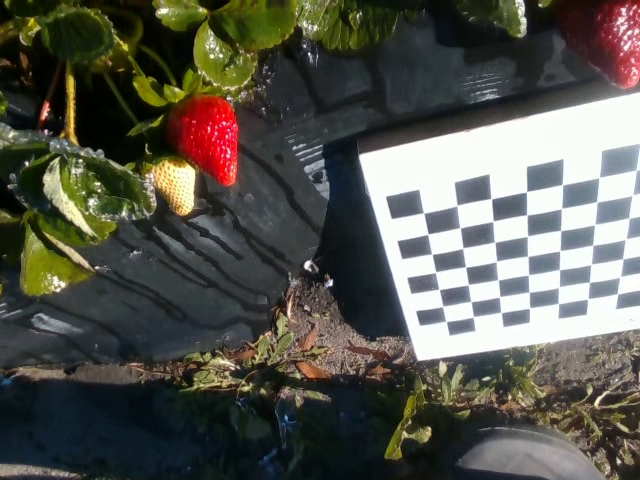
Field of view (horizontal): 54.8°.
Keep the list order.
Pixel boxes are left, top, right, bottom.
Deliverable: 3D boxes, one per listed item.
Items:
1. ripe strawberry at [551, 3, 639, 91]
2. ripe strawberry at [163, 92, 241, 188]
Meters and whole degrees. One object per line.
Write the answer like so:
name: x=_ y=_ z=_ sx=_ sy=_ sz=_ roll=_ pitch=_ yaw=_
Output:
ripe strawberry: x=0.153 y=-0.104 z=0.320 sx=0.049 sy=0.061 sz=0.044 roll=-16 pitch=14 yaw=15
ripe strawberry: x=-0.064 y=-0.057 z=0.375 sx=0.042 sy=0.061 sz=0.046 roll=-21 pitch=3 yaw=21
